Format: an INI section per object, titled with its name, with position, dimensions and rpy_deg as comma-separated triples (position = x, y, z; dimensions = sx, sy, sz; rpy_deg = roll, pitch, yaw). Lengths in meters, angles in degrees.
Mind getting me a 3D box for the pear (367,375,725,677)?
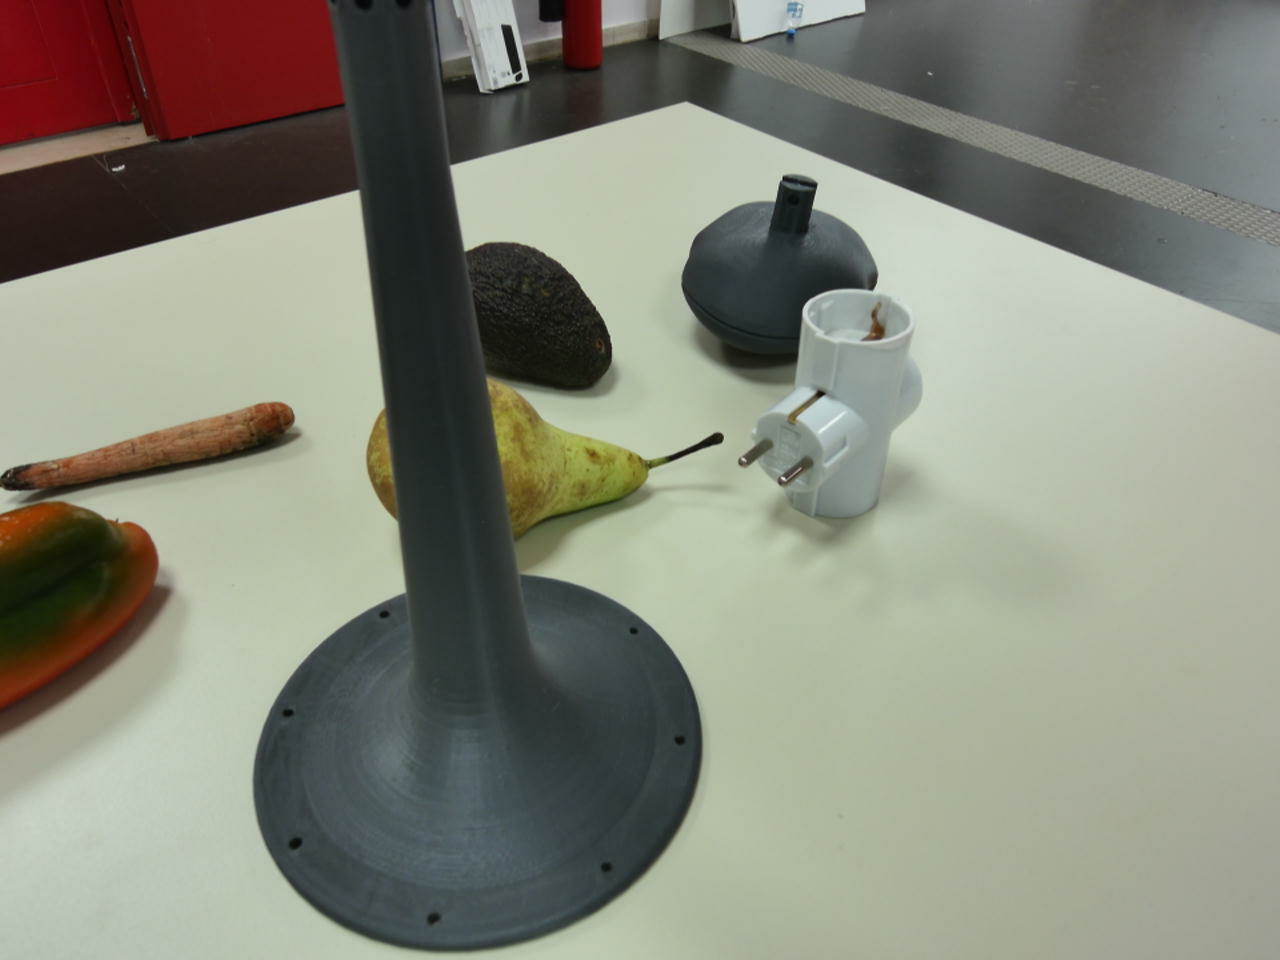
[pear]
position = -0.043, -0.018, 0.420
dimensions = 0.144, 0.075, 0.071
rpy_deg = -22, 42, -26
